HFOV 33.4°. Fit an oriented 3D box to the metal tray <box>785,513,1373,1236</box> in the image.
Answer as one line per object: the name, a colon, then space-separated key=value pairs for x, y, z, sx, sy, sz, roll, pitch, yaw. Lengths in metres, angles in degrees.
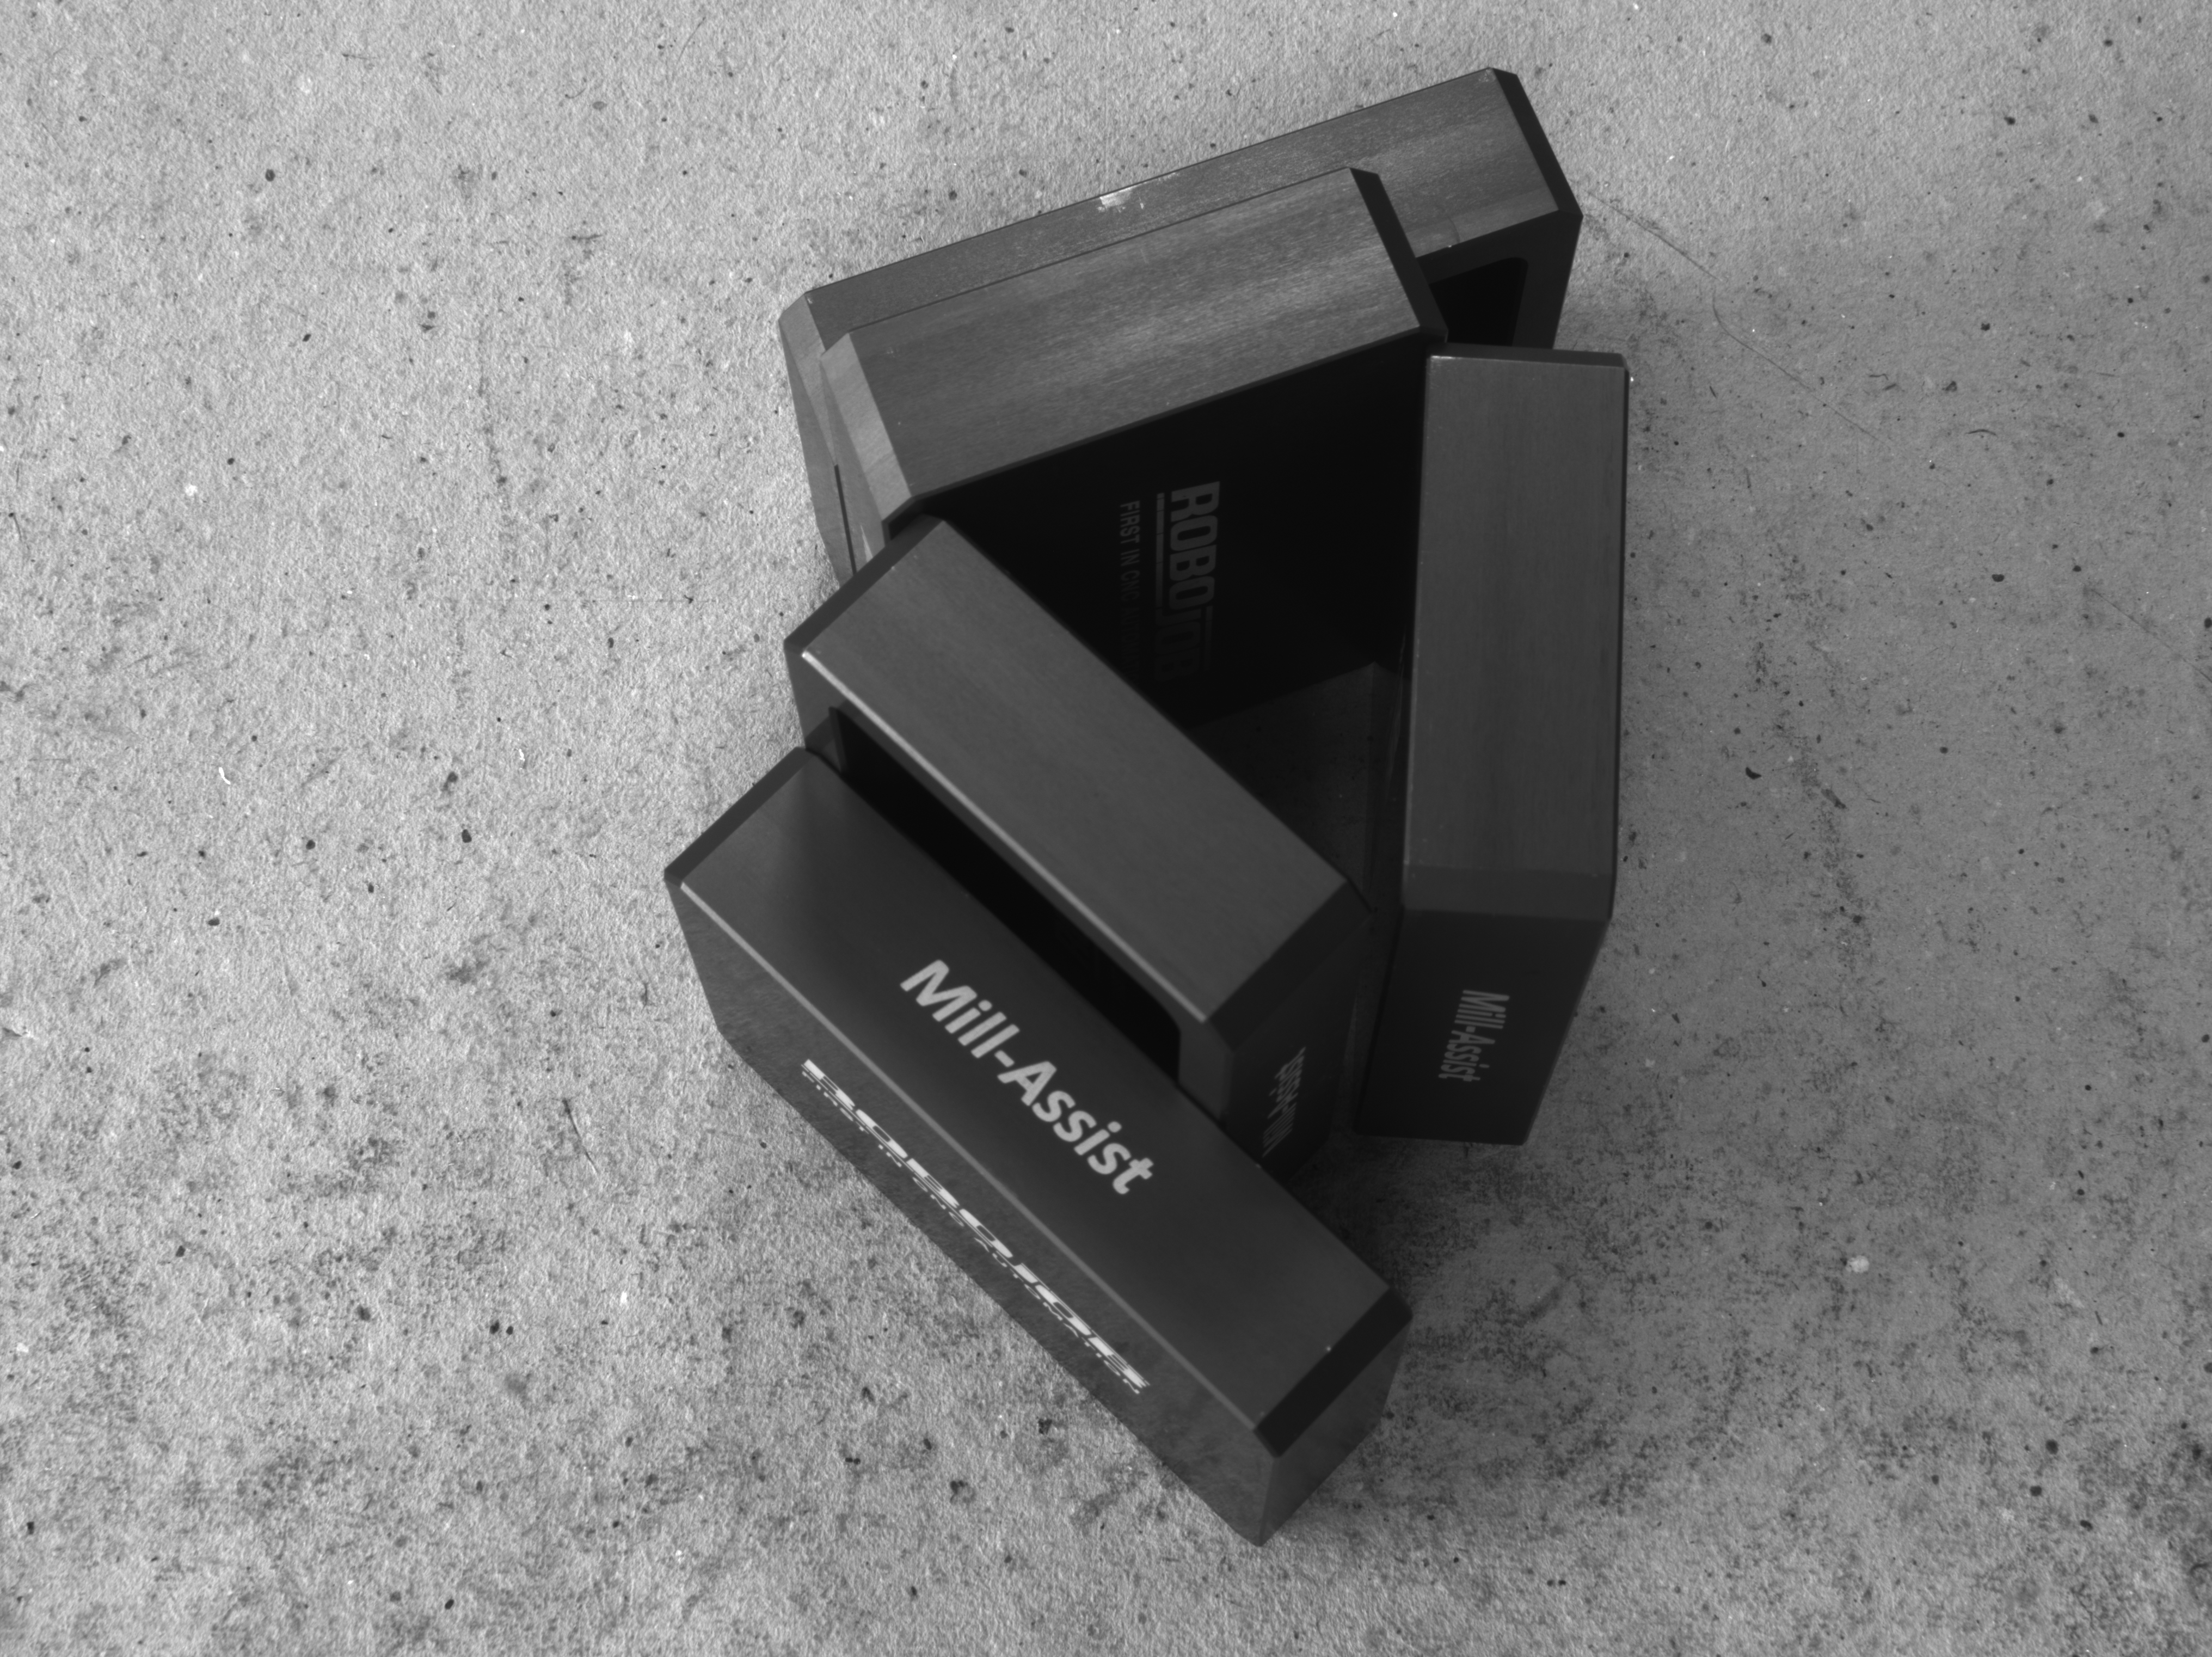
metal tray: x=-0.004 y=0.013 z=0.584 sx=0.090 sy=0.130 sz=0.030 roll=42 pitch=75 yaw=14

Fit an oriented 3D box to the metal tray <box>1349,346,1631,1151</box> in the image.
metal tray: x=0.060 y=-0.008 z=0.592 sx=0.030 sy=0.130 sz=0.090 roll=4 pitch=70 yaw=2

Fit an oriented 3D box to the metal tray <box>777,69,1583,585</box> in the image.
metal tray: x=0.013 y=-0.078 z=0.639 sx=0.130 sy=0.090 sz=0.030 roll=-19 pitch=71 yaw=-7

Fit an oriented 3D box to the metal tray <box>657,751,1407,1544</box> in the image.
metal tray: x=-0.012 y=0.054 z=0.590 sx=0.130 sy=0.090 sz=0.030 roll=42 pitch=76 yaw=14

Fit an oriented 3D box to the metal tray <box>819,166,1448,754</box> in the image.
metal tray: x=0.005 y=-0.052 z=0.608 sx=0.090 sy=0.130 sz=0.030 roll=-19 pitch=71 yaw=-7
